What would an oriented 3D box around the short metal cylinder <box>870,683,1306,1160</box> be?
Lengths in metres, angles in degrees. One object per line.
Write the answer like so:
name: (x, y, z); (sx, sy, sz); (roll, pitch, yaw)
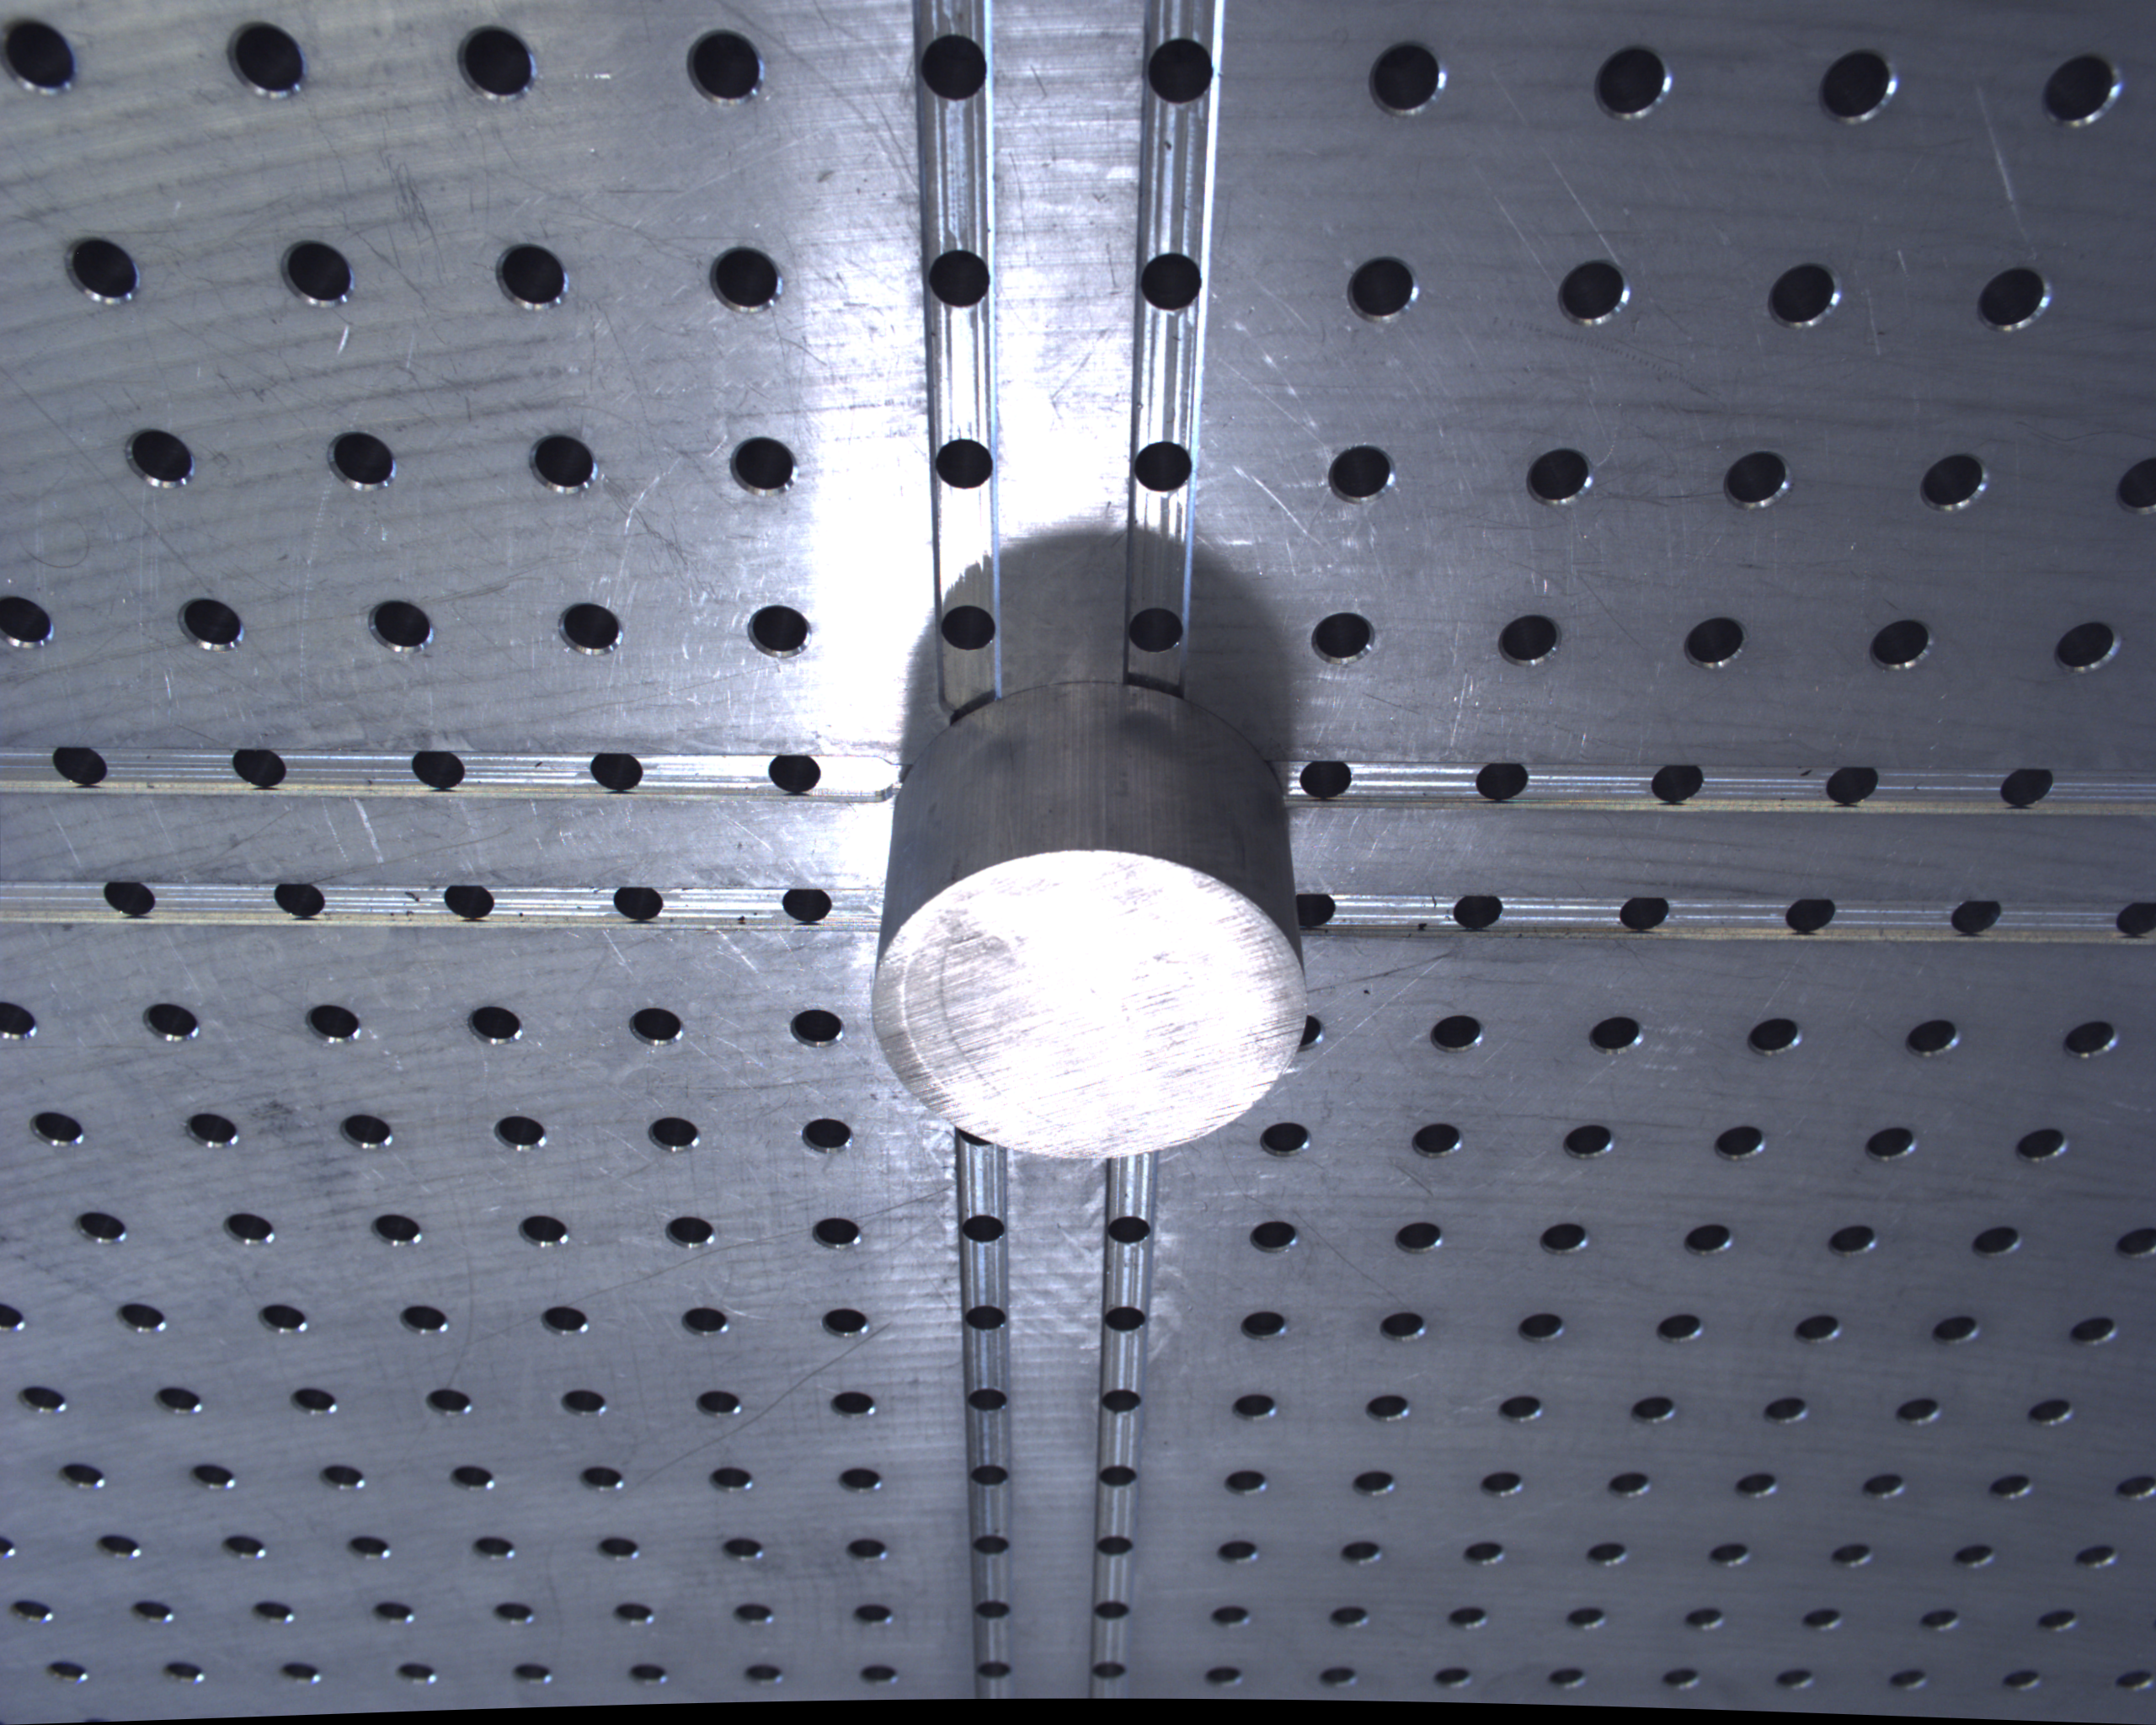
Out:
short metal cylinder: (0.002, 0.012, 0.405); (0.080, 0.050, 0.080); (0, 130, 0)
